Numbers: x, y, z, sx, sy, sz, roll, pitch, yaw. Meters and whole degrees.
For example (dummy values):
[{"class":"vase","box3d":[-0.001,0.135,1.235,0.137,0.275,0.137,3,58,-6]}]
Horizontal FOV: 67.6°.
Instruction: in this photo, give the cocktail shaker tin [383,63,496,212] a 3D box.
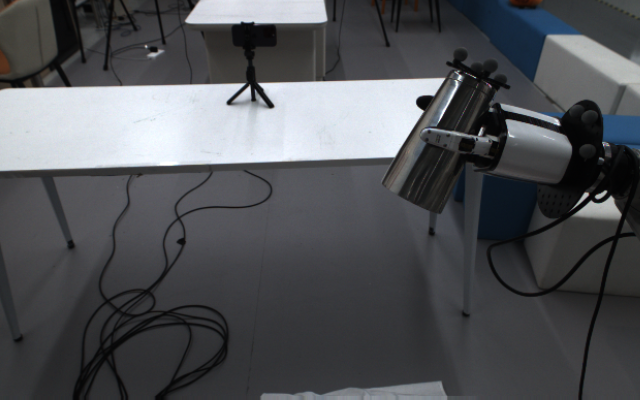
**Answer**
[{"class":"cocktail shaker tin","box3d":[0.162,-0.081,0.638,0.093,0.170,0.093,24,13,-6]}]
